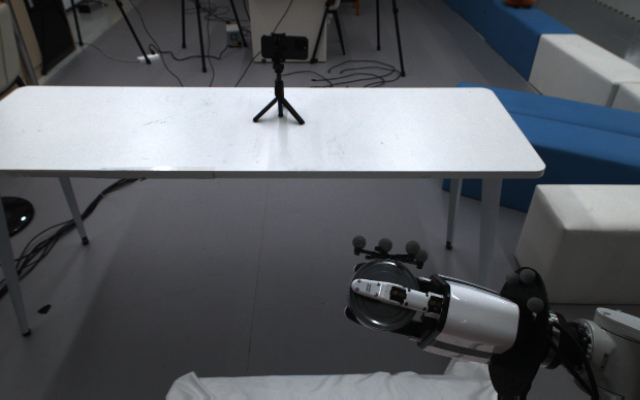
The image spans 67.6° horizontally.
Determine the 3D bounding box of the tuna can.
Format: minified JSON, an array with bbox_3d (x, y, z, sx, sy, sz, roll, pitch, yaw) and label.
[{"bbox_3d":[0.079,0.112,0.593,0.085,0.034,0.085,1,73,-3],"label":"tuna can"}]
